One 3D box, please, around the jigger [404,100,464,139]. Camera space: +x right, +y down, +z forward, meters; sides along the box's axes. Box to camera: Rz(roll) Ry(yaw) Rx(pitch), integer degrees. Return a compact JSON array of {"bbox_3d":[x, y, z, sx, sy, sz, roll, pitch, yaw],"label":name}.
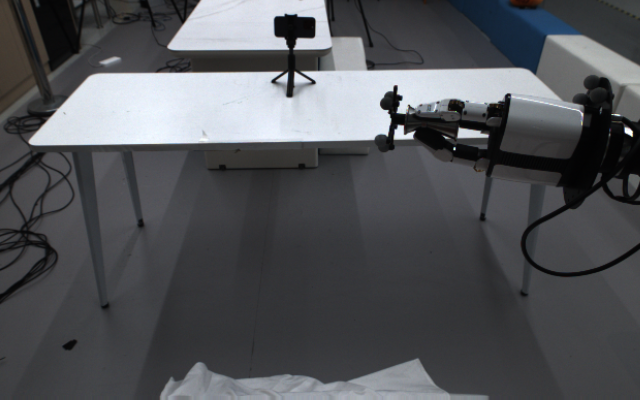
[{"bbox_3d":[0.154,-0.106,0.636,0.071,0.043,0.043,8,35,13],"label":"jigger"}]
